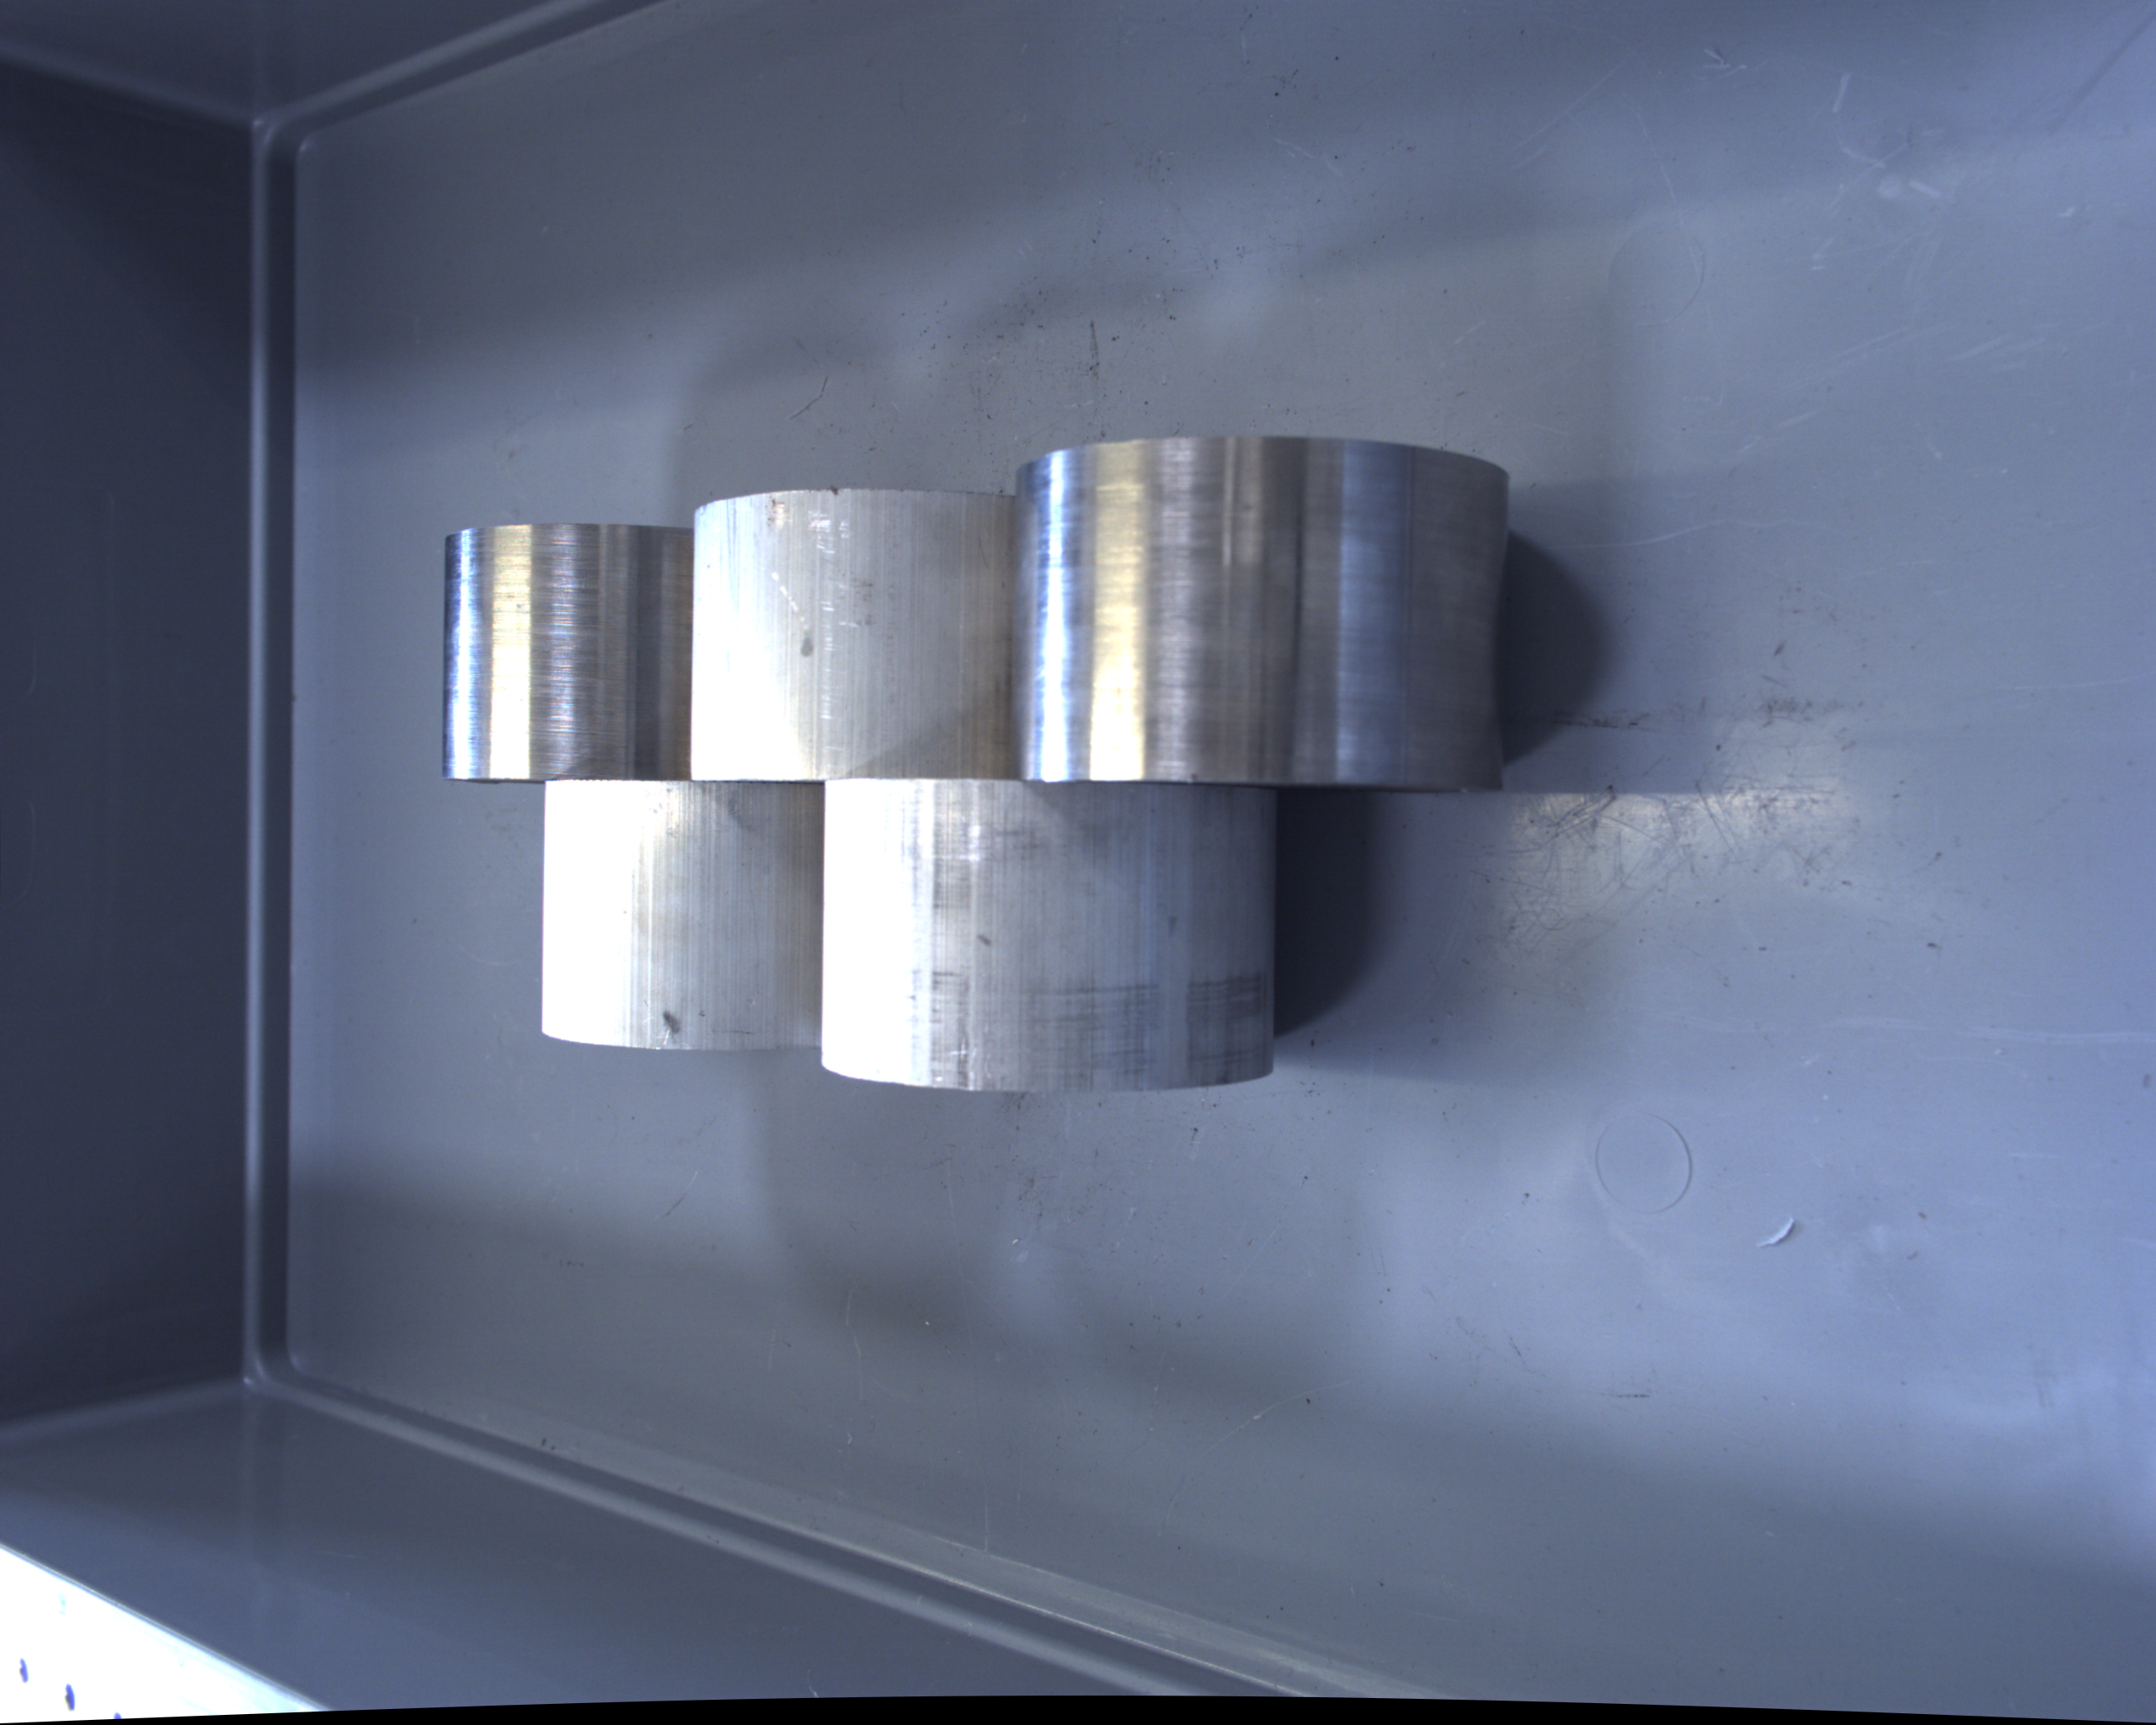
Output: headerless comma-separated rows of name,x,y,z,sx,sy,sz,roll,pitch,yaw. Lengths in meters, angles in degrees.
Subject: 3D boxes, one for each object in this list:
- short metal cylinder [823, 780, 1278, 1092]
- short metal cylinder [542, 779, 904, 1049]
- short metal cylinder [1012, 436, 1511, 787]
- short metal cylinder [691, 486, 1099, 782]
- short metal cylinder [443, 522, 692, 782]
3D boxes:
short metal cylinder,-0.005,0.011,0.373,0.080,0.081,0.050,1,91,40
short metal cylinder,-0.068,0.009,0.425,0.080,0.081,0.050,1,91,40
short metal cylinder,0.030,-0.038,0.344,0.080,0.081,0.050,3,92,40
short metal cylinder,-0.032,-0.040,0.395,0.080,0.081,0.050,1,91,40
short metal cylinder,-0.094,-0.042,0.447,0.080,0.081,0.050,1,91,40
